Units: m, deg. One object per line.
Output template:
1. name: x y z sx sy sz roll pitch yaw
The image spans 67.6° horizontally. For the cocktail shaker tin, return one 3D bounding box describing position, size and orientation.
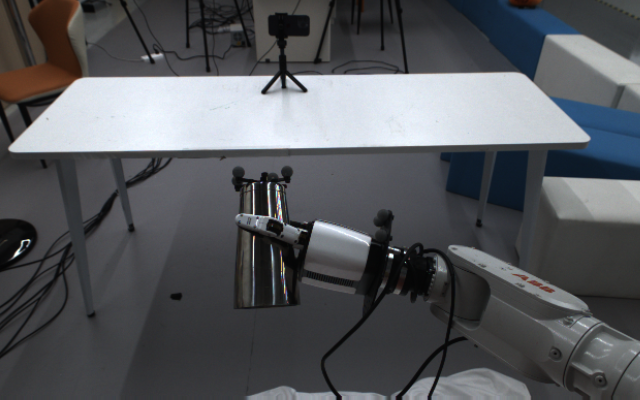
1. cocktail shaker tin: -0.078 0.066 0.685 0.093 0.093 0.170 -3 76 -7
